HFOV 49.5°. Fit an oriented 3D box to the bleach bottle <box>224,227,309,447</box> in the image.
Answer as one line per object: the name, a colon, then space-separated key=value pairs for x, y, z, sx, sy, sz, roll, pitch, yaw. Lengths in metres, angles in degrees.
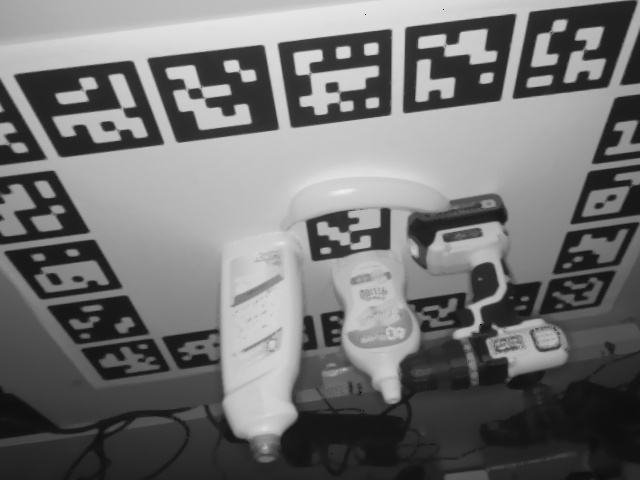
bleach bottle: x=-0.054 y=0.102 z=0.761 sx=0.102 sy=0.252 sz=0.067 roll=-12 pitch=137 yaw=5

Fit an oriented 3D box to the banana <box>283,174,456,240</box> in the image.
banana: x=0.055 y=-0.040 z=0.766 sx=0.198 sy=0.039 sz=0.073 roll=-6 pitch=134 yaw=-5

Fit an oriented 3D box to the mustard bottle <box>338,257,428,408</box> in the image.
mustard bottle: x=0.077 y=0.109 z=0.822 sx=0.096 sy=0.193 sz=0.058 roll=-5 pitch=138 yaw=-1

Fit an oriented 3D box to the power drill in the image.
power drill: x=0.176 y=0.071 z=0.768 sx=0.184 sy=0.188 sz=0.057 roll=-7 pitch=145 yaw=3
